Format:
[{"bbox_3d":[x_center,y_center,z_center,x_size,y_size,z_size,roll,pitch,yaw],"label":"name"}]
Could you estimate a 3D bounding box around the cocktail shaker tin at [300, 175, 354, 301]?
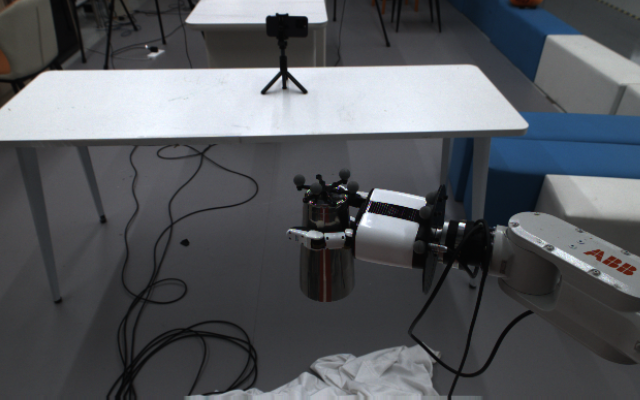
[{"bbox_3d":[0.014,0.061,0.754,0.093,0.170,0.093,-1,32,1],"label":"cocktail shaker tin"}]
